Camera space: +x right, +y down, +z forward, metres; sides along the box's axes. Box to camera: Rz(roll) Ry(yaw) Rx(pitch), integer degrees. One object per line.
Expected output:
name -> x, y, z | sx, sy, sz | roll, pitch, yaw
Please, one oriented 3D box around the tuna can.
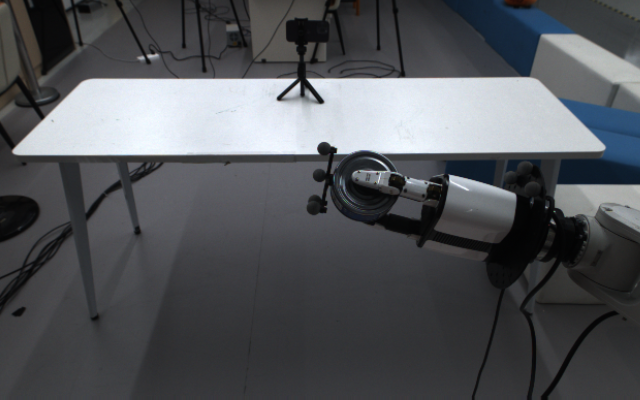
tuna can -> 0.060, -0.015, 0.602 | 0.085, 0.034, 0.085 | 2, 73, -5
